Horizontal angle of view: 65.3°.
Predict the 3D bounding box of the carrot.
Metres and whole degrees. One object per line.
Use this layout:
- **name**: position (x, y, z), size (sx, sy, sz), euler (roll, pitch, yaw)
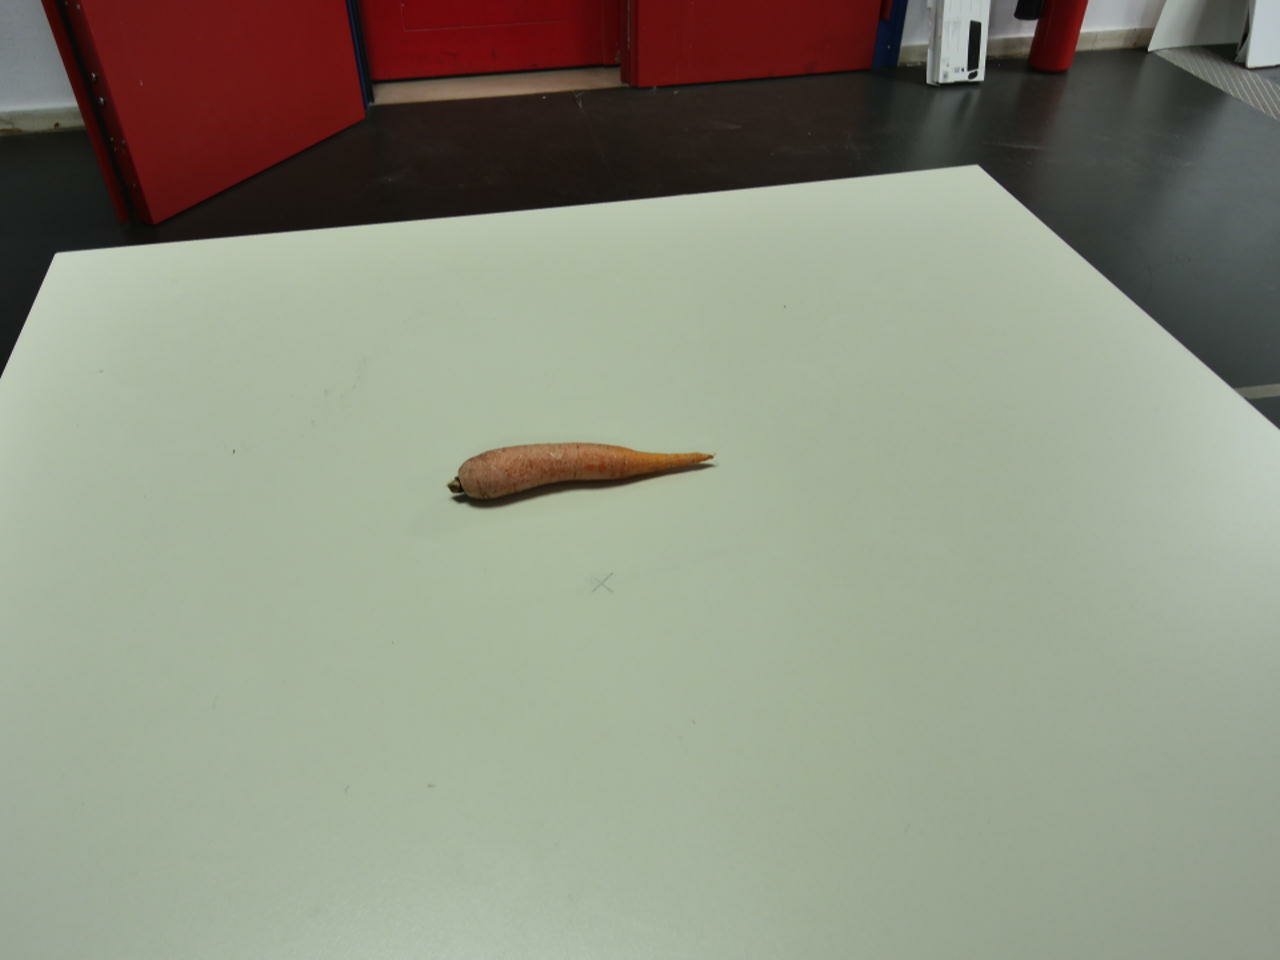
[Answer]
- **carrot**: position (-0.036, -0.011, 0.613), size (0.163, 0.029, 0.031), euler (-8, 40, -10)
